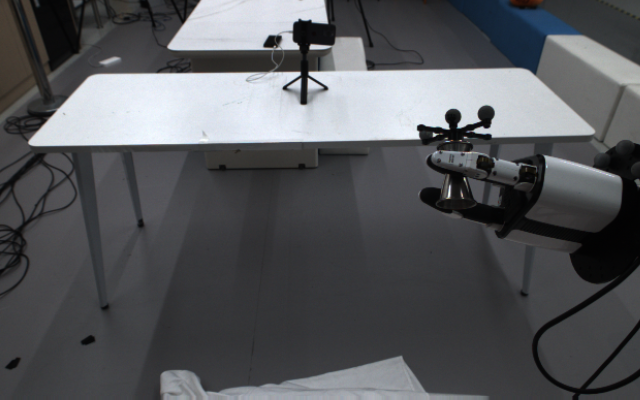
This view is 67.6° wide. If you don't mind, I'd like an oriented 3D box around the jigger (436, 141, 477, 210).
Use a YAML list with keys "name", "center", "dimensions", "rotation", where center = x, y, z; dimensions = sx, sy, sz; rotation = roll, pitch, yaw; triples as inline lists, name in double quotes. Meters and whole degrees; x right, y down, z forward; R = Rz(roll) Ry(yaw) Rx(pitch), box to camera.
- name: "jigger"
  center: [0.150, -0.028, 0.543]
  dimensions: [0.043, 0.043, 0.071]
  rotation: [3, 75, 1]
